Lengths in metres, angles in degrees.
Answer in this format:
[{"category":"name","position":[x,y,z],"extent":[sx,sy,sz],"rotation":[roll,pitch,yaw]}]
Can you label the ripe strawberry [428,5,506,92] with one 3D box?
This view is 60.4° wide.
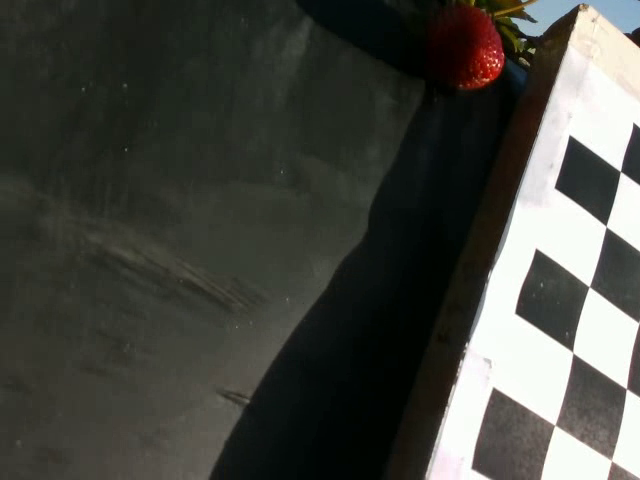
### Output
[{"category":"ripe strawberry","position":[0.045,-0.055,0.162],"extent":[0.034,0.033,0.038],"rotation":[32,15,-15]}]
